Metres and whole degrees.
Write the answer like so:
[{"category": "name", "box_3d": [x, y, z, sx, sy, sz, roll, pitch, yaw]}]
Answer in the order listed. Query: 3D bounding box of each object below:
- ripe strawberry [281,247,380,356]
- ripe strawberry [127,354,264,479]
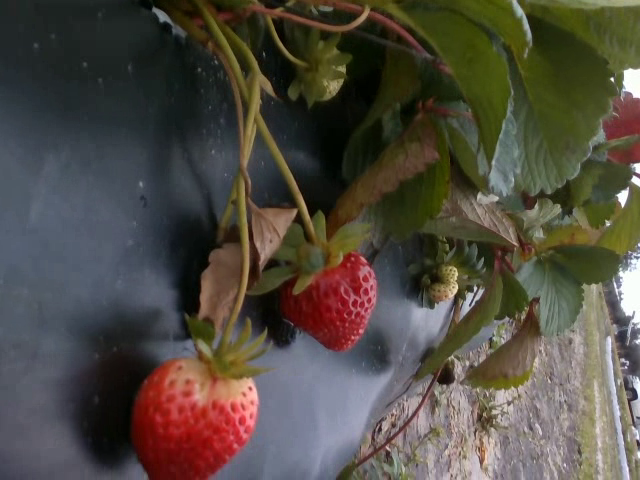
[{"category": "ripe strawberry", "box_3d": [0.007, 0.024, 0.224, 0.044, 0.059, 0.041, -28, 43, -21]}, {"category": "ripe strawberry", "box_3d": [-0.030, 0.051, 0.158, 0.027, 0.041, 0.036, 25, 7, 31]}]
